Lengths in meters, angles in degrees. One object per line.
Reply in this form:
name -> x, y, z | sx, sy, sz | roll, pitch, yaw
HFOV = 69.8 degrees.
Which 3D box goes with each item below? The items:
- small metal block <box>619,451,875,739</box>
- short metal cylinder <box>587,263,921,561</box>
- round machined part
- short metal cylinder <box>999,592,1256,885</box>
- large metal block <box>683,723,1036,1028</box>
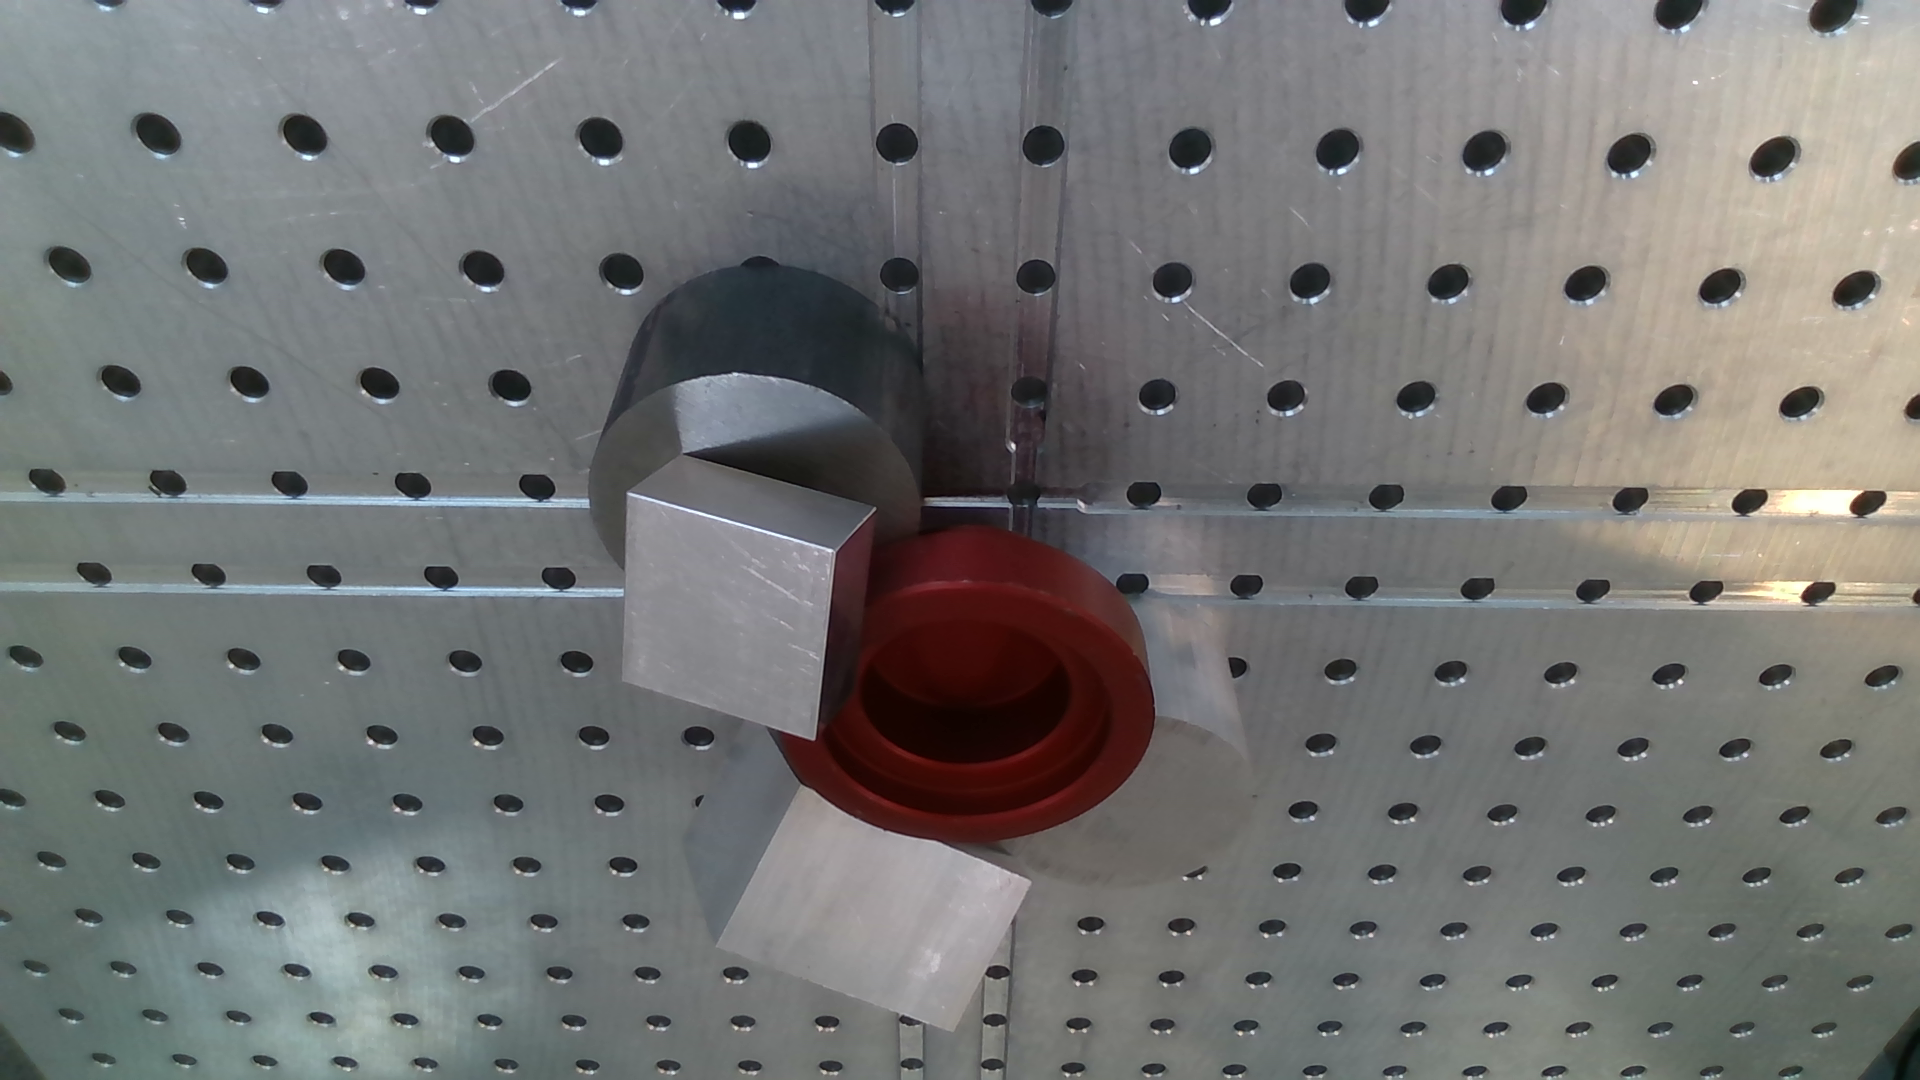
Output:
small metal block -> -0.050, 0.012, 0.321 | 0.050, 0.025, 0.050 | 15, 119, 12
short metal cylinder -> -0.050, -0.023, 0.355 | 0.080, 0.050, 0.080 | 0, 130, 0
round machined part -> 0.001, 0.034, 0.371 | 0.098, 0.042, 0.098 | 0, 130, 0
short metal cylinder -> 0.048, 0.063, 0.428 | 0.080, 0.050, 0.080 | 0, 130, 0
large metal block -> -0.035, 0.098, 0.431 | 0.080, 0.080, 0.050 | 27, 91, -21
